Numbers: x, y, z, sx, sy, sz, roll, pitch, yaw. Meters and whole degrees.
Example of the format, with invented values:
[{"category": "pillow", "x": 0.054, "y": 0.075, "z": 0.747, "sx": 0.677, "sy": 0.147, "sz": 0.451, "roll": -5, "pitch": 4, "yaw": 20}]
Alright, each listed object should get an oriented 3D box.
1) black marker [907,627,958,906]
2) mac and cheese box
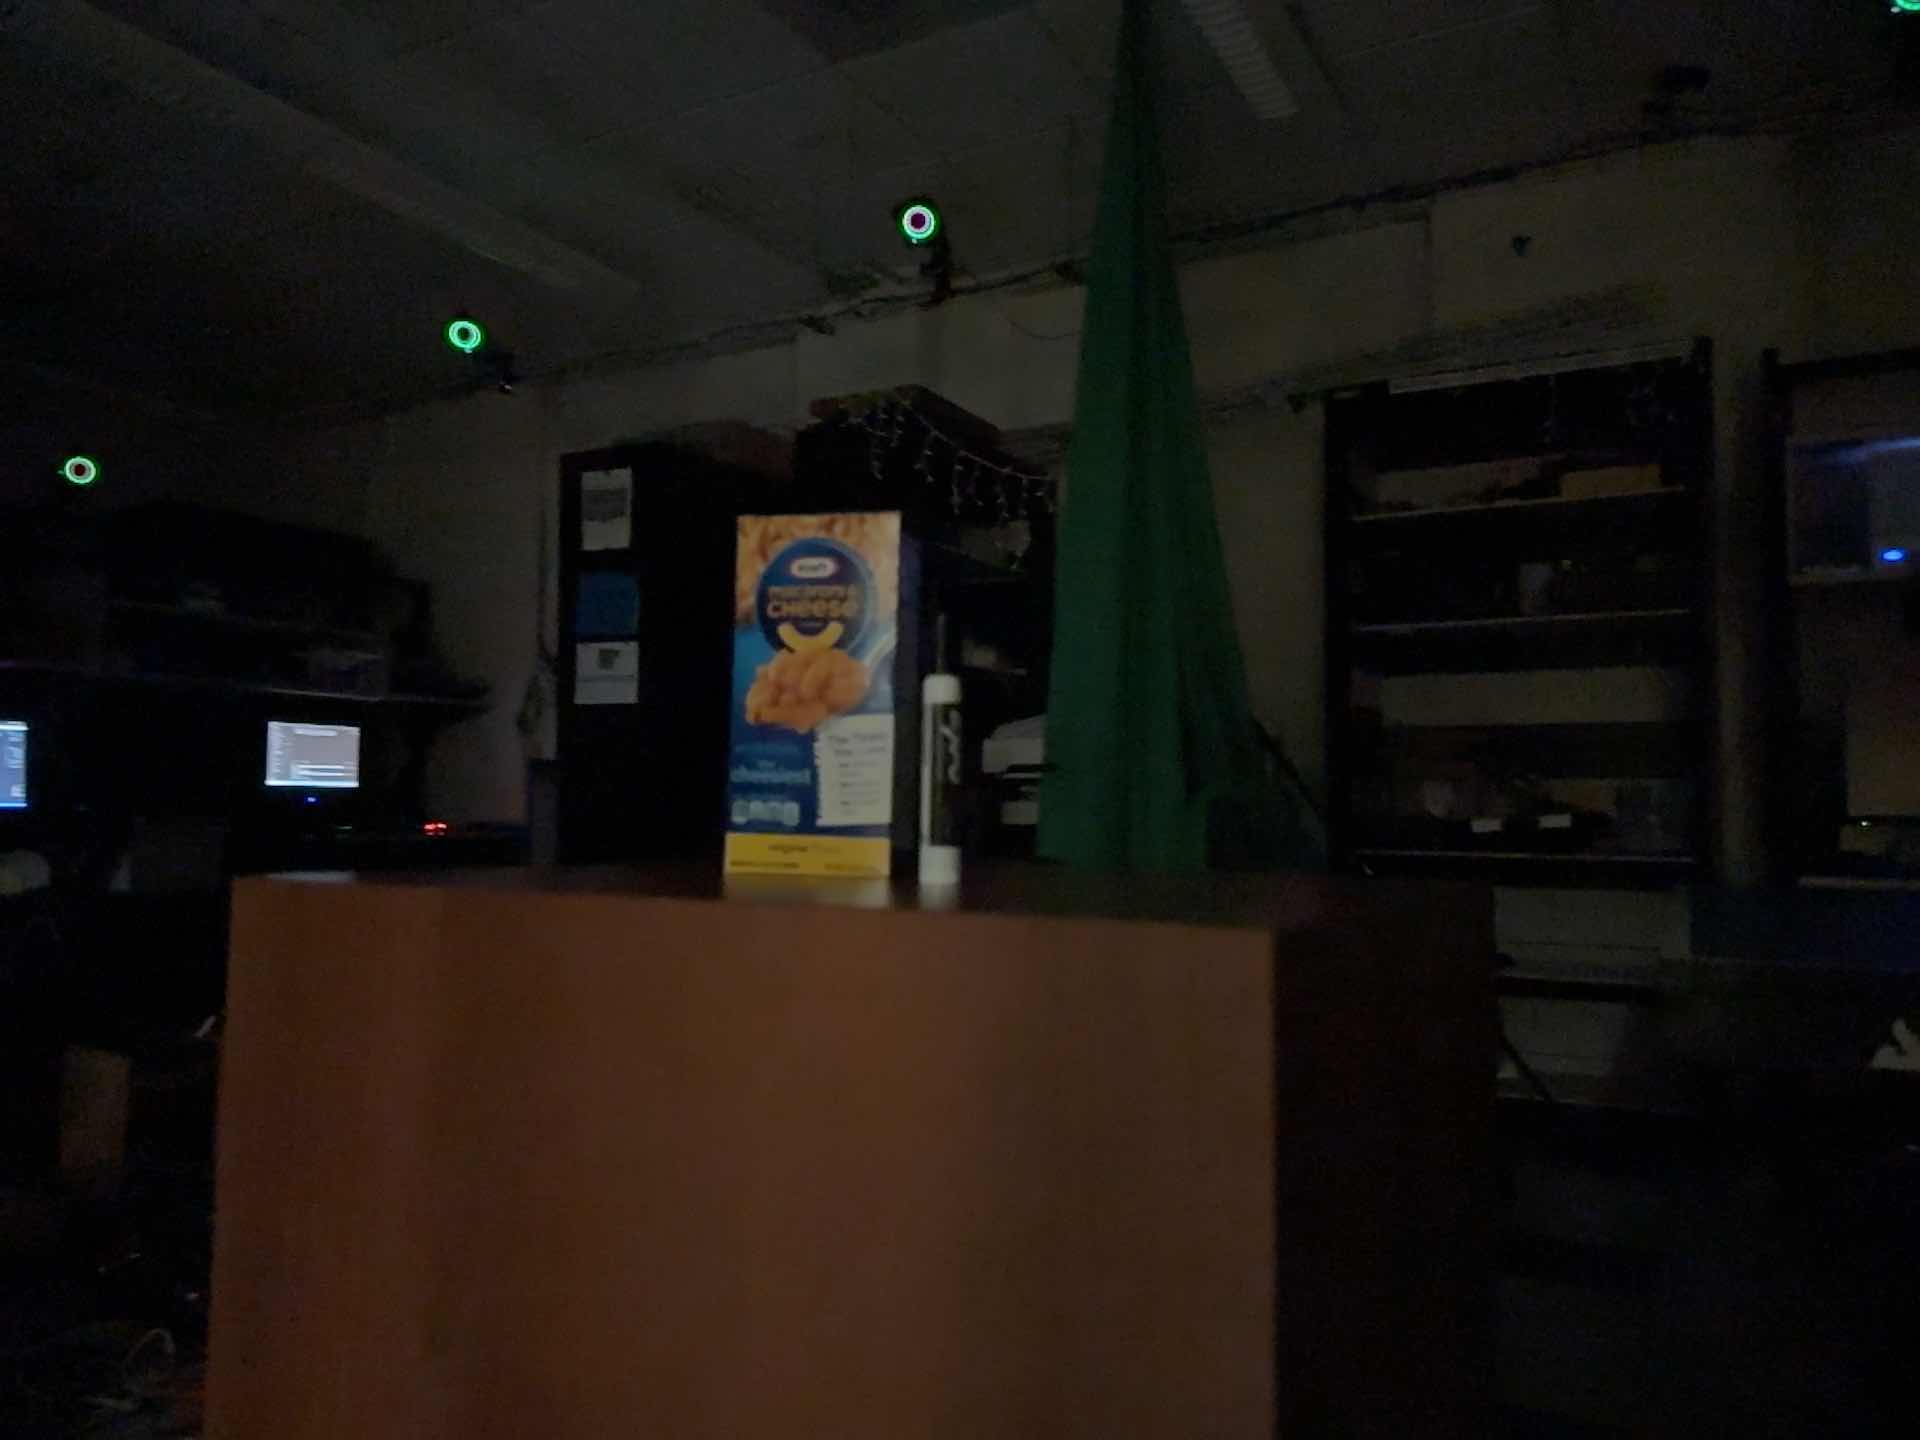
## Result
[{"category": "black marker", "x": -0.012, "y": 0.020, "z": 0.587, "sx": 0.020, "sy": 0.121, "sz": 0.020, "roll": 1, "pitch": -4, "yaw": 0}, {"category": "mac and cheese box", "x": -0.065, "y": -0.010, "z": 0.676, "sx": 0.088, "sy": 0.181, "sz": 0.035, "roll": 0, "pitch": -3, "yaw": 22}]
